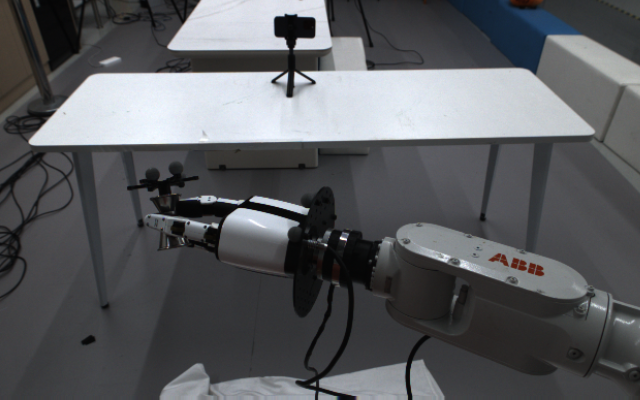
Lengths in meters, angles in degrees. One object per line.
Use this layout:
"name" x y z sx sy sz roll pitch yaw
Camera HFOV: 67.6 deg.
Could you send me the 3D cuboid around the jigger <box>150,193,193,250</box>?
"jigger" -0.191 0.029 0.626 0.043 0.071 0.043 -12 -3 -1
